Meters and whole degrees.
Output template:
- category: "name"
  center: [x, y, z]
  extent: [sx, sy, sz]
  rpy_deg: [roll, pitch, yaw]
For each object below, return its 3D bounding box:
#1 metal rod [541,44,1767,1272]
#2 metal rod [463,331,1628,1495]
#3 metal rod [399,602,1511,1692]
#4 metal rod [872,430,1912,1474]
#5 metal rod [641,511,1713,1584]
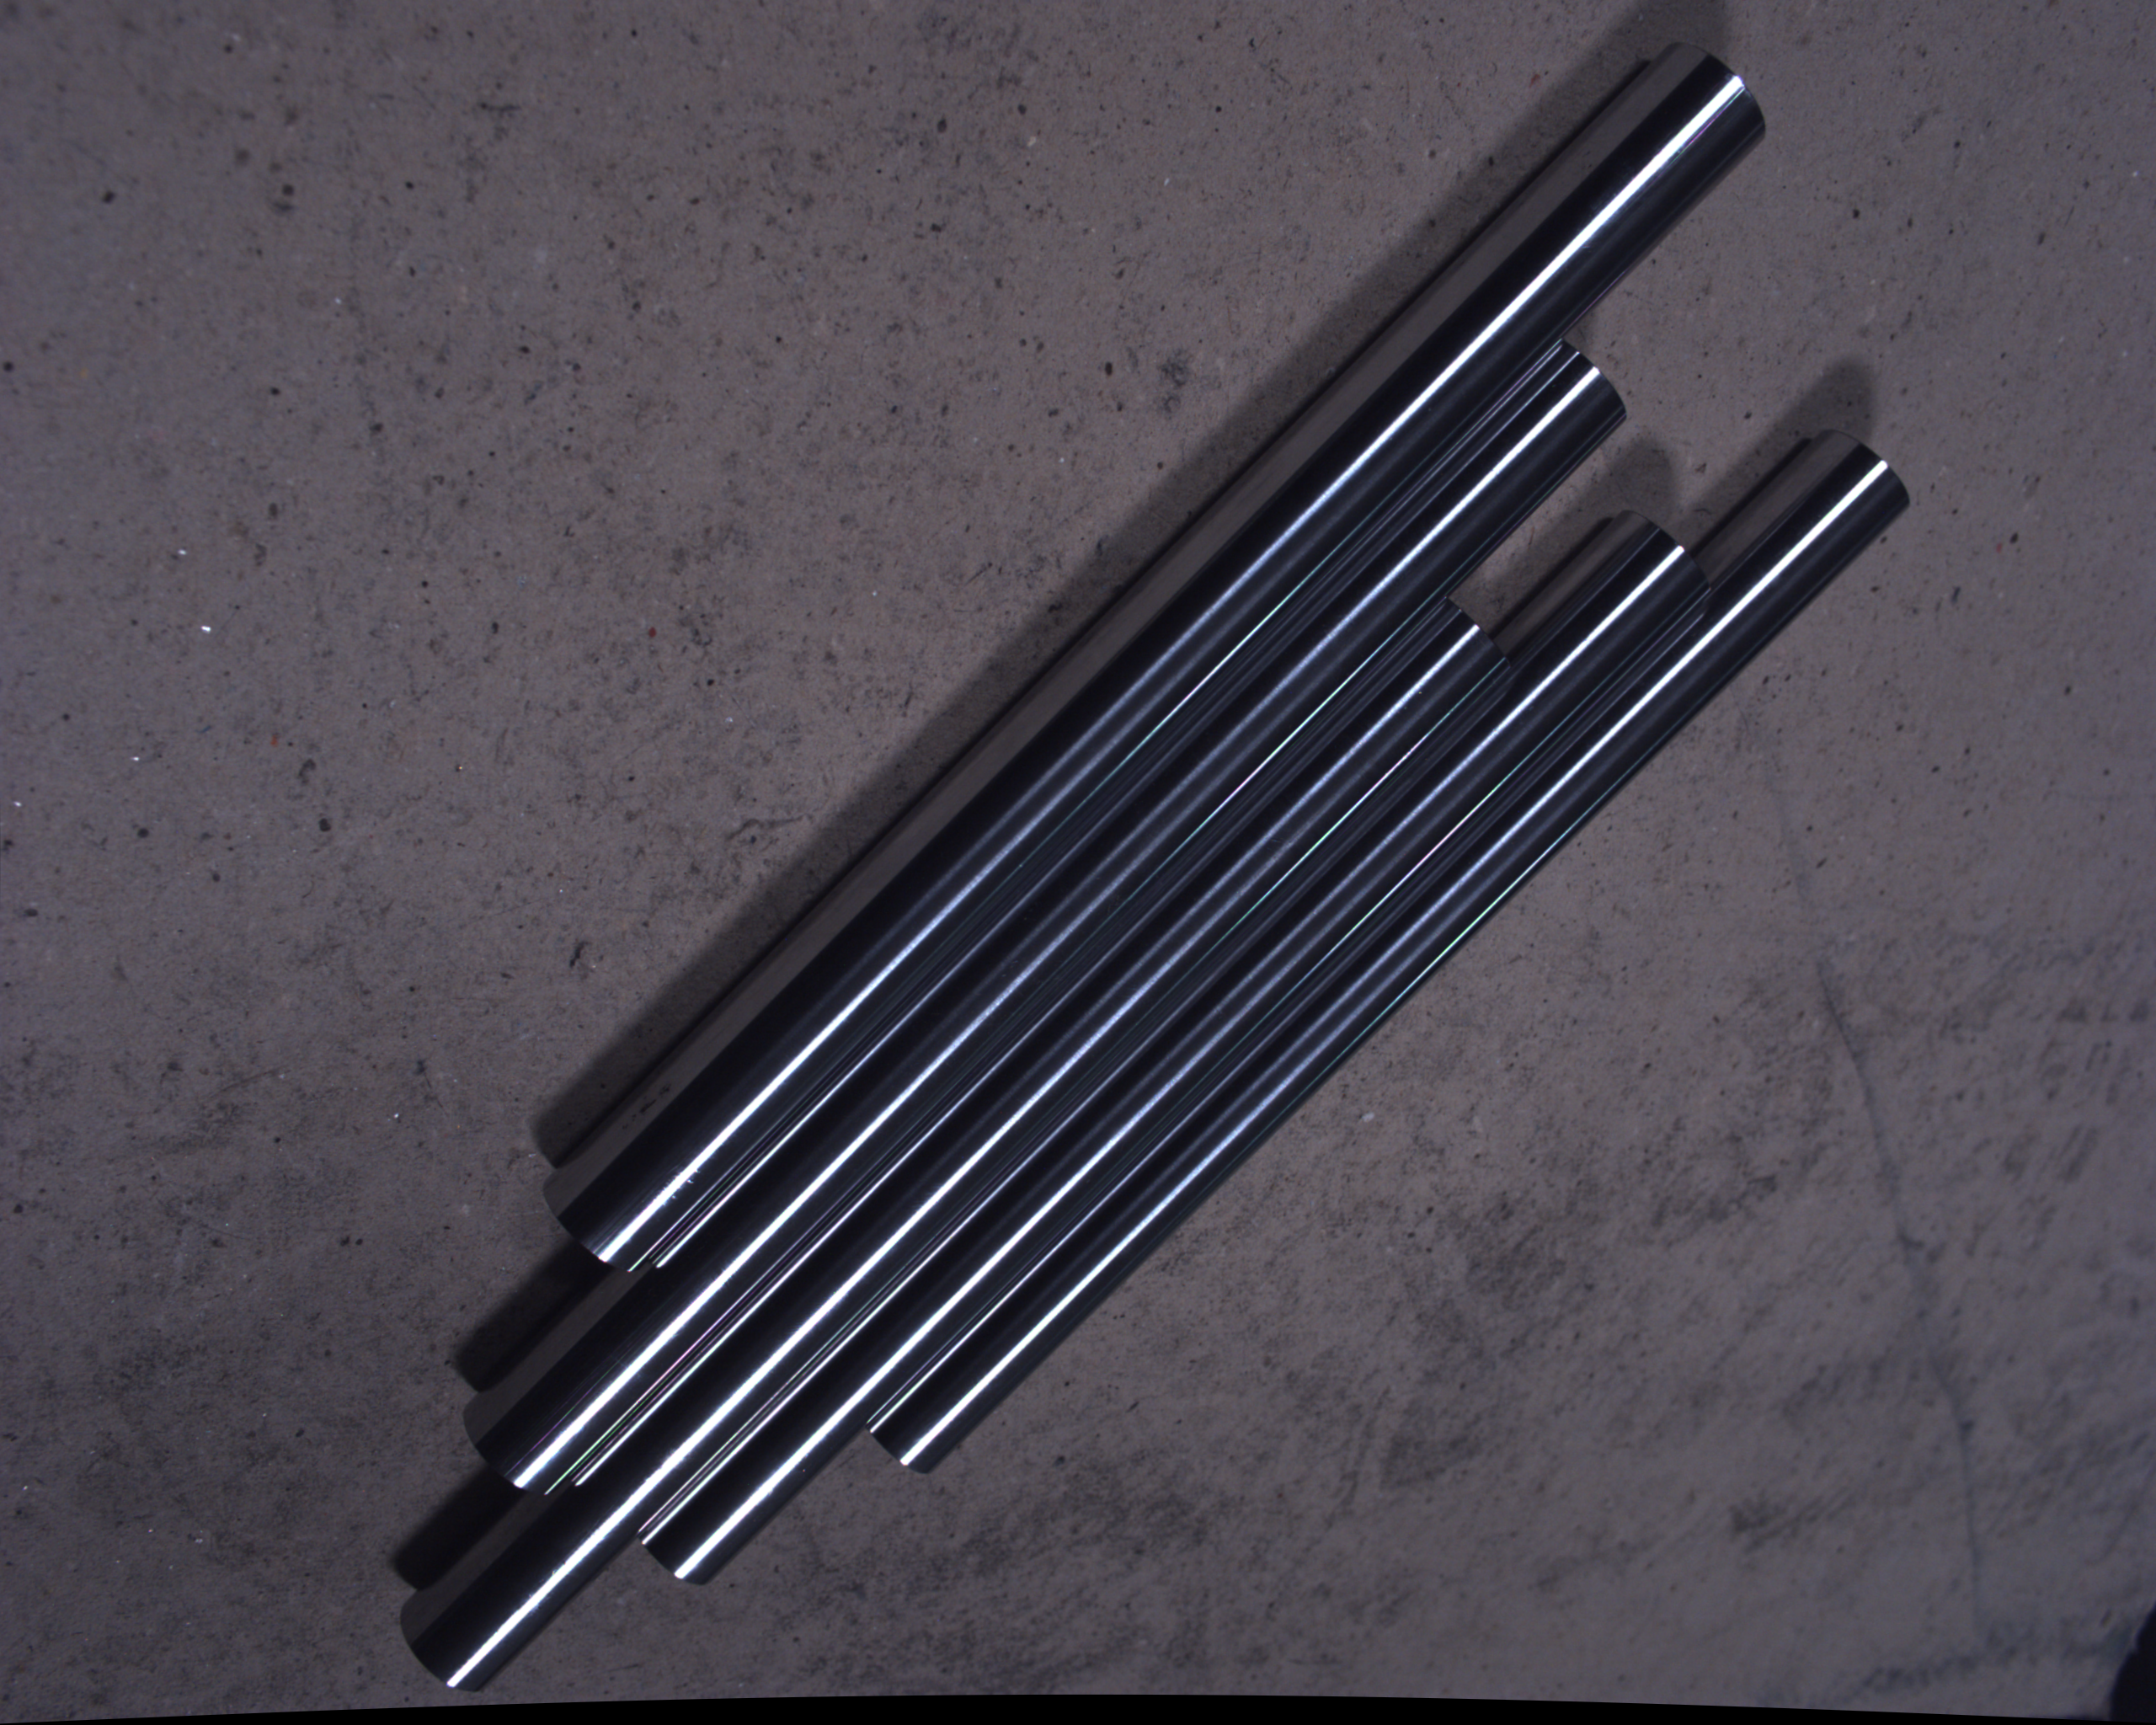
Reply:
- category: "metal rod"
  center: [0.012, -0.036, 0.394]
  extent: [0.300, 0.025, 0.025]
  rpy_deg: [-45, 130, 3]
- category: "metal rod"
  center: [-0.008, 0.012, 0.413]
  extent: [0.300, 0.025, 0.025]
  rpy_deg: [-45, 130, 3]
- category: "metal rod"
  center: [-0.027, 0.058, 0.431]
  extent: [0.300, 0.025, 0.025]
  rpy_deg: [-45, 130, 3]
- category: "metal rod"
  center: [0.064, 0.021, 0.458]
  extent: [0.300, 0.025, 0.025]
  rpy_deg: [-45, 130, 3]
- category: "metal rod"
  center: [0.018, 0.041, 0.445]
  extent: [0.300, 0.025, 0.025]
  rpy_deg: [-45, 130, 3]
